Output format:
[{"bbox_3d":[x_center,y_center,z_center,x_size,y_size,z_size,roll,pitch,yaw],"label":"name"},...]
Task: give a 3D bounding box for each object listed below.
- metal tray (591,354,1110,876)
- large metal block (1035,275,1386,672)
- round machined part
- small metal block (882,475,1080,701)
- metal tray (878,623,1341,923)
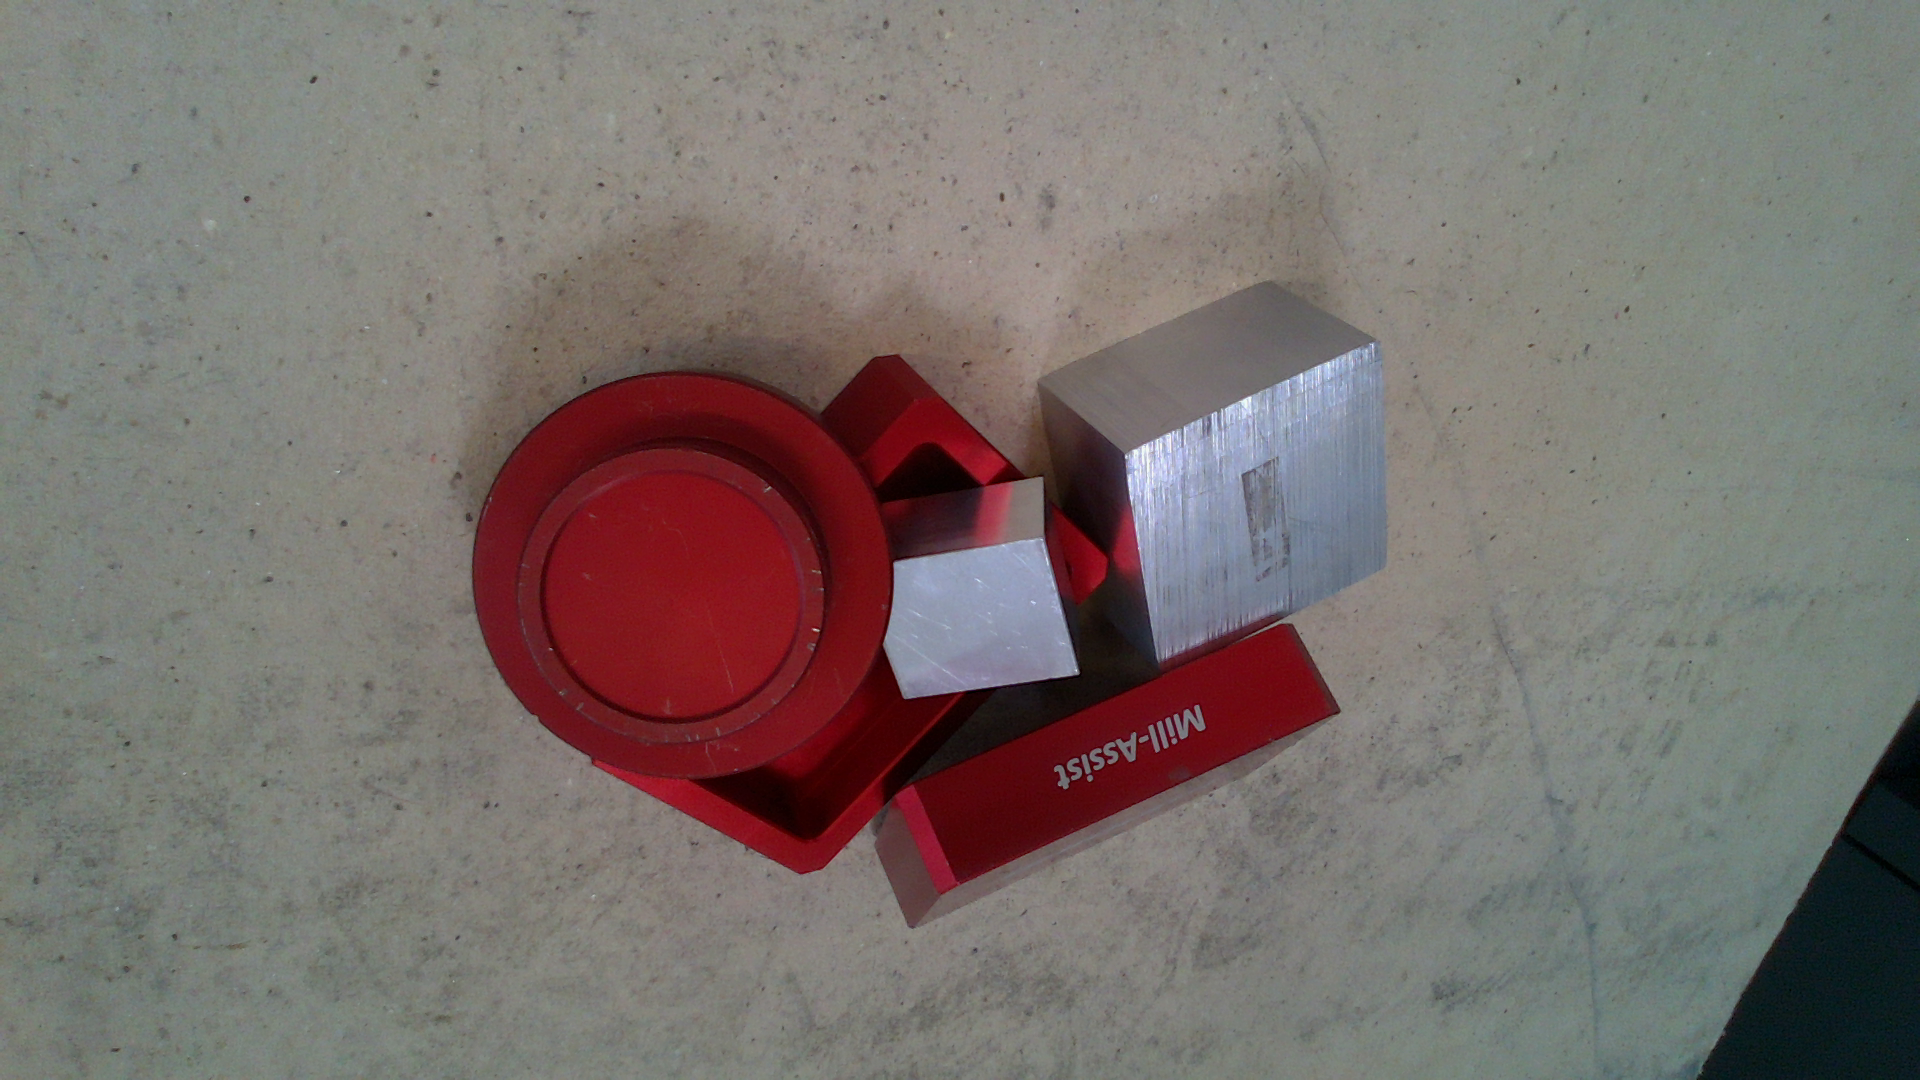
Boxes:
[{"bbox_3d":[-0.032,0.025,0.383,0.130,0.030,0.090,-47,129,4],"label":"metal tray"},{"bbox_3d":[0.075,-0.019,0.402,0.080,0.050,0.080,-24,127,-13],"label":"large metal block"},{"bbox_3d":[-0.065,0.010,0.322,0.098,0.042,0.098,-1,99,-4],"label":"round machined part"},{"bbox_3d":[0.003,0.014,0.370,0.050,0.025,0.050,-9,130,10],"label":"small metal block"},{"bbox_3d":[0.042,0.074,0.424,0.130,0.030,0.090,-21,162,-15],"label":"metal tray"}]
